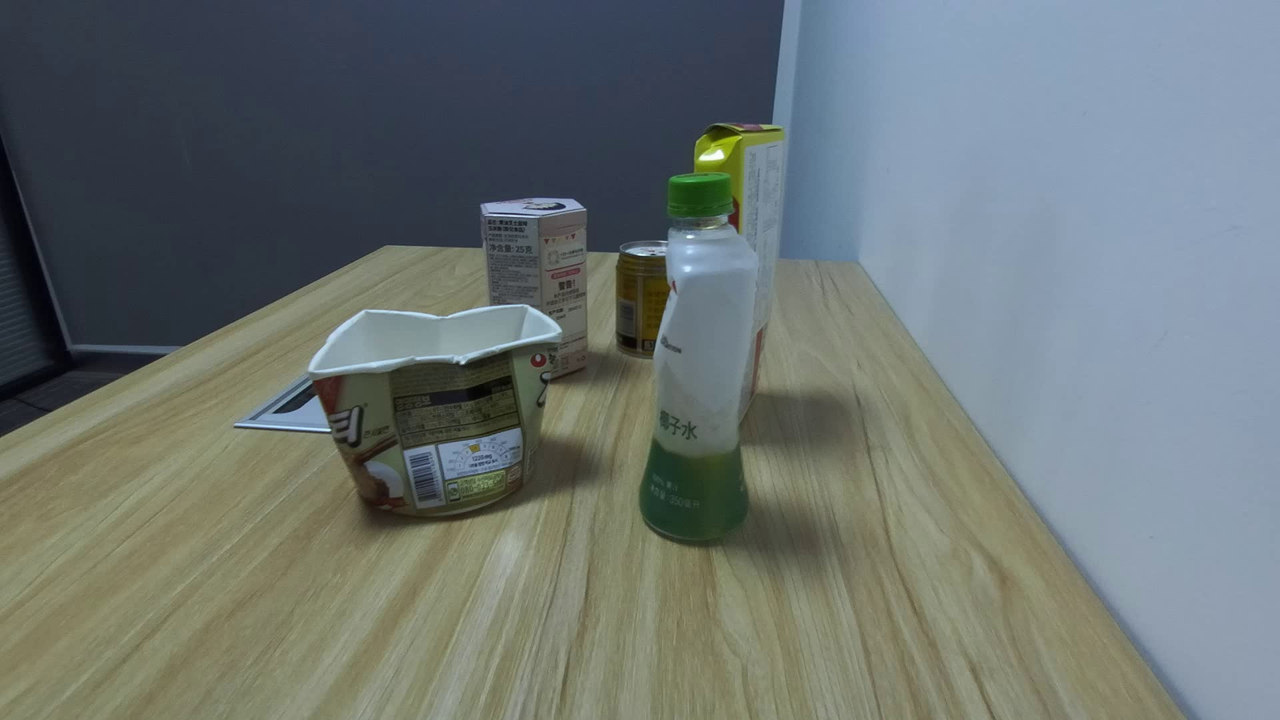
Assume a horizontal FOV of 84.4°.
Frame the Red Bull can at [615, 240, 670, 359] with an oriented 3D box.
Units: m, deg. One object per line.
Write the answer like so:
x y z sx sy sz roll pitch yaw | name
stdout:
0.011 -0.056 0.626 0.068 0.093 0.068 0 24 0 | Red Bull can

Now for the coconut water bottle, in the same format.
0.032 -0.001 0.370 0.069 0.187 0.069 1 22 0 | coconut water bottle

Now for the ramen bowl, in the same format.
-0.114 0.025 0.432 0.128 0.093 0.111 -2 22 -7 | ramen bowl

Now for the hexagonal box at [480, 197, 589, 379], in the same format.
-0.088 -0.062 0.591 0.083 0.136 0.091 23 32 39 | hexagonal box

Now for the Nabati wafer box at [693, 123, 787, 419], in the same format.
0.063 -0.056 0.488 0.042 0.205 0.113 12 23 21 | Nabati wafer box
